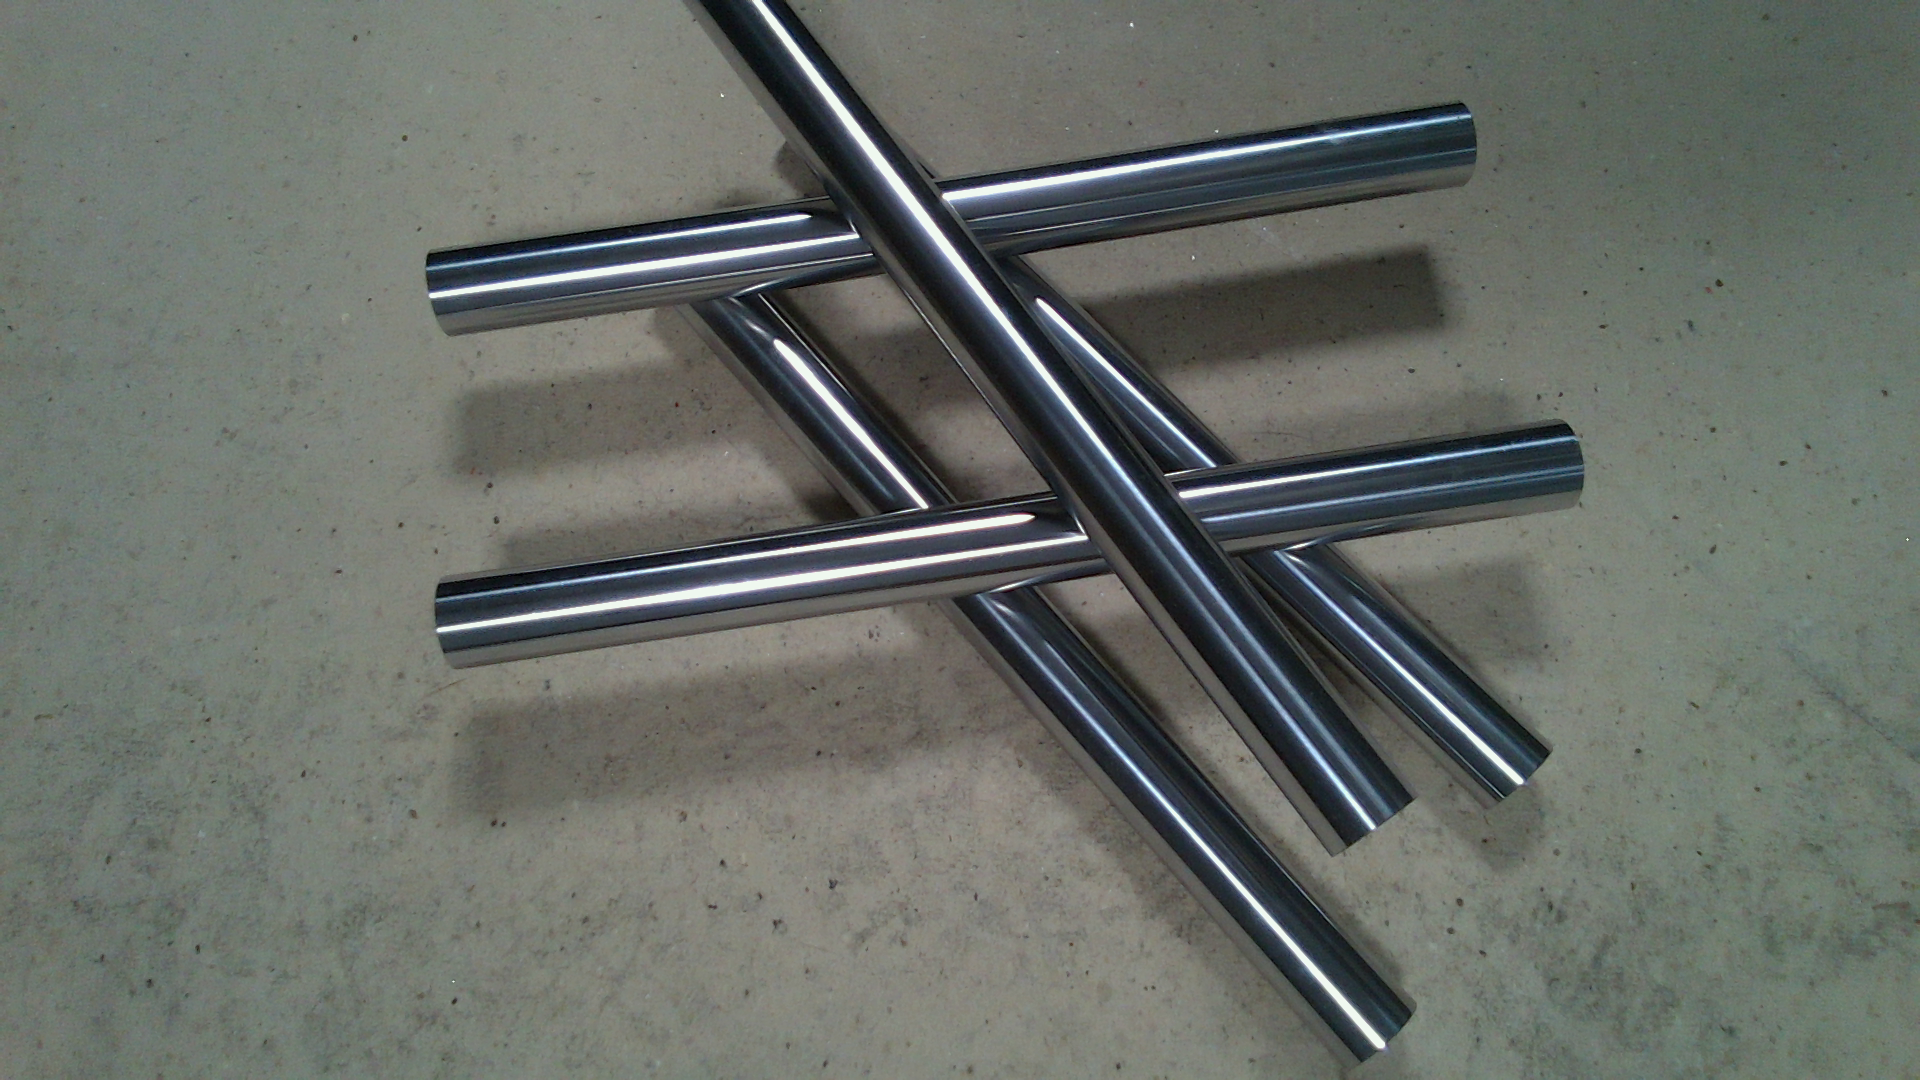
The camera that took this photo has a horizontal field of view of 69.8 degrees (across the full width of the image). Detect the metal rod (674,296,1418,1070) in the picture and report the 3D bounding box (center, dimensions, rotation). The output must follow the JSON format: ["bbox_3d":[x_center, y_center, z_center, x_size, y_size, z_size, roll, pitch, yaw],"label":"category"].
[{"bbox_3d":[0.009,0.019,0.387,0.025,0.025,0.300,-39,75,-13],"label":"metal rod"}]

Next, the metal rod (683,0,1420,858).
[{"bbox_3d":[0.012,-0.050,0.360,0.025,0.025,0.300,-33,73,-11],"label":"metal rod"}]

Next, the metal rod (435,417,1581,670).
[{"bbox_3d":[0.015,0.000,0.369,0.300,0.025,0.025,-8,70,-3],"label":"metal rod"}]

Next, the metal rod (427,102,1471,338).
[{"bbox_3d":[0.000,-0.094,0.403,0.300,0.025,0.025,-9,70,-3],"label":"metal rod"}]

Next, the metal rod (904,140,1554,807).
[{"bbox_3d":[0.050,-0.040,0.409,0.025,0.025,0.300,-41,75,-13],"label":"metal rod"}]
